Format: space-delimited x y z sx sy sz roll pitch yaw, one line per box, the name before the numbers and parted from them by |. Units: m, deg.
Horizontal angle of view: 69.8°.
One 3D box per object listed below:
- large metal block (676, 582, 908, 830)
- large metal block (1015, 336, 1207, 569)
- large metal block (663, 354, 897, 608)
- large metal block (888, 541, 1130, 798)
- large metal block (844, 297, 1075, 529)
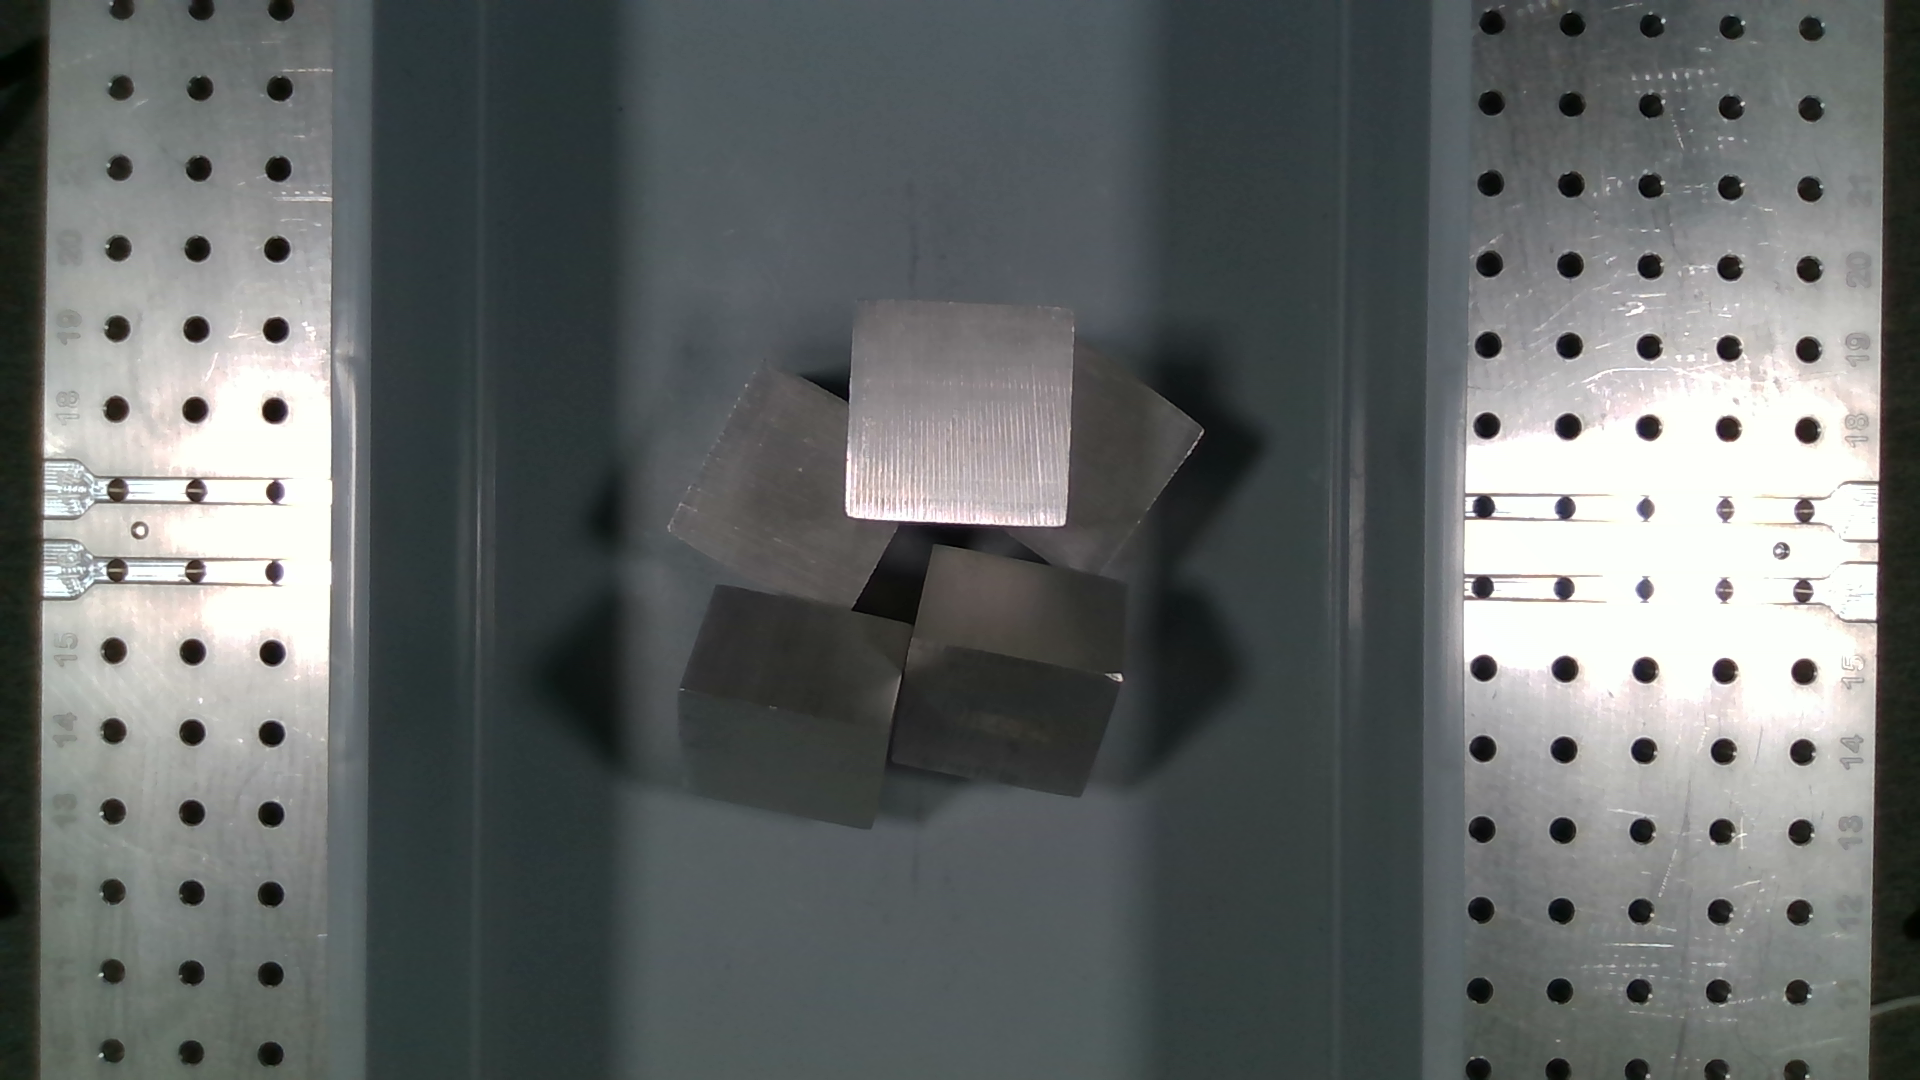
large metal block | -0.066 0.068 0.552 0.080 0.080 0.050 12 51 0
large metal block | 0.043 -0.036 0.574 0.080 0.050 0.080 36 90 0
large metal block | -0.063 -0.019 0.570 0.080 0.050 0.080 30 90 0
large metal block | 0.019 0.053 0.553 0.080 0.050 0.080 11 135 0
large metal block | -0.001 -0.046 0.522 0.080 0.050 0.080 2 89 -1
